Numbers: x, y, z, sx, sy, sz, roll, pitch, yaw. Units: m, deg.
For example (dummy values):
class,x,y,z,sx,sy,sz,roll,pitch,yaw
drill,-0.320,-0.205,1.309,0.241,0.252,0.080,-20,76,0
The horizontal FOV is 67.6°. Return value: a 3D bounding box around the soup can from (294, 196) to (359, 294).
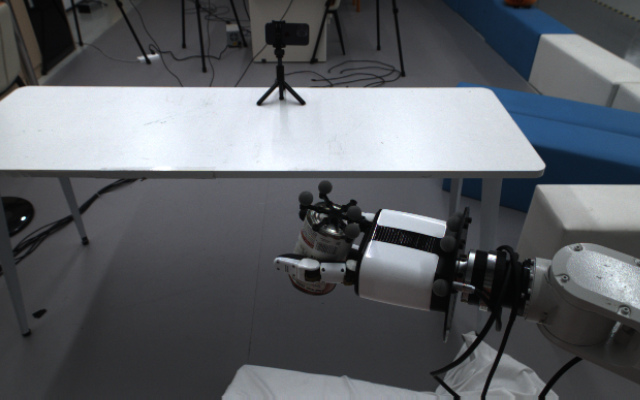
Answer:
class,x,y,z,sx,sy,sz,roll,pitch,yaw
soup can,0.004,0.061,0.608,0.067,0.101,0.067,13,34,-9
